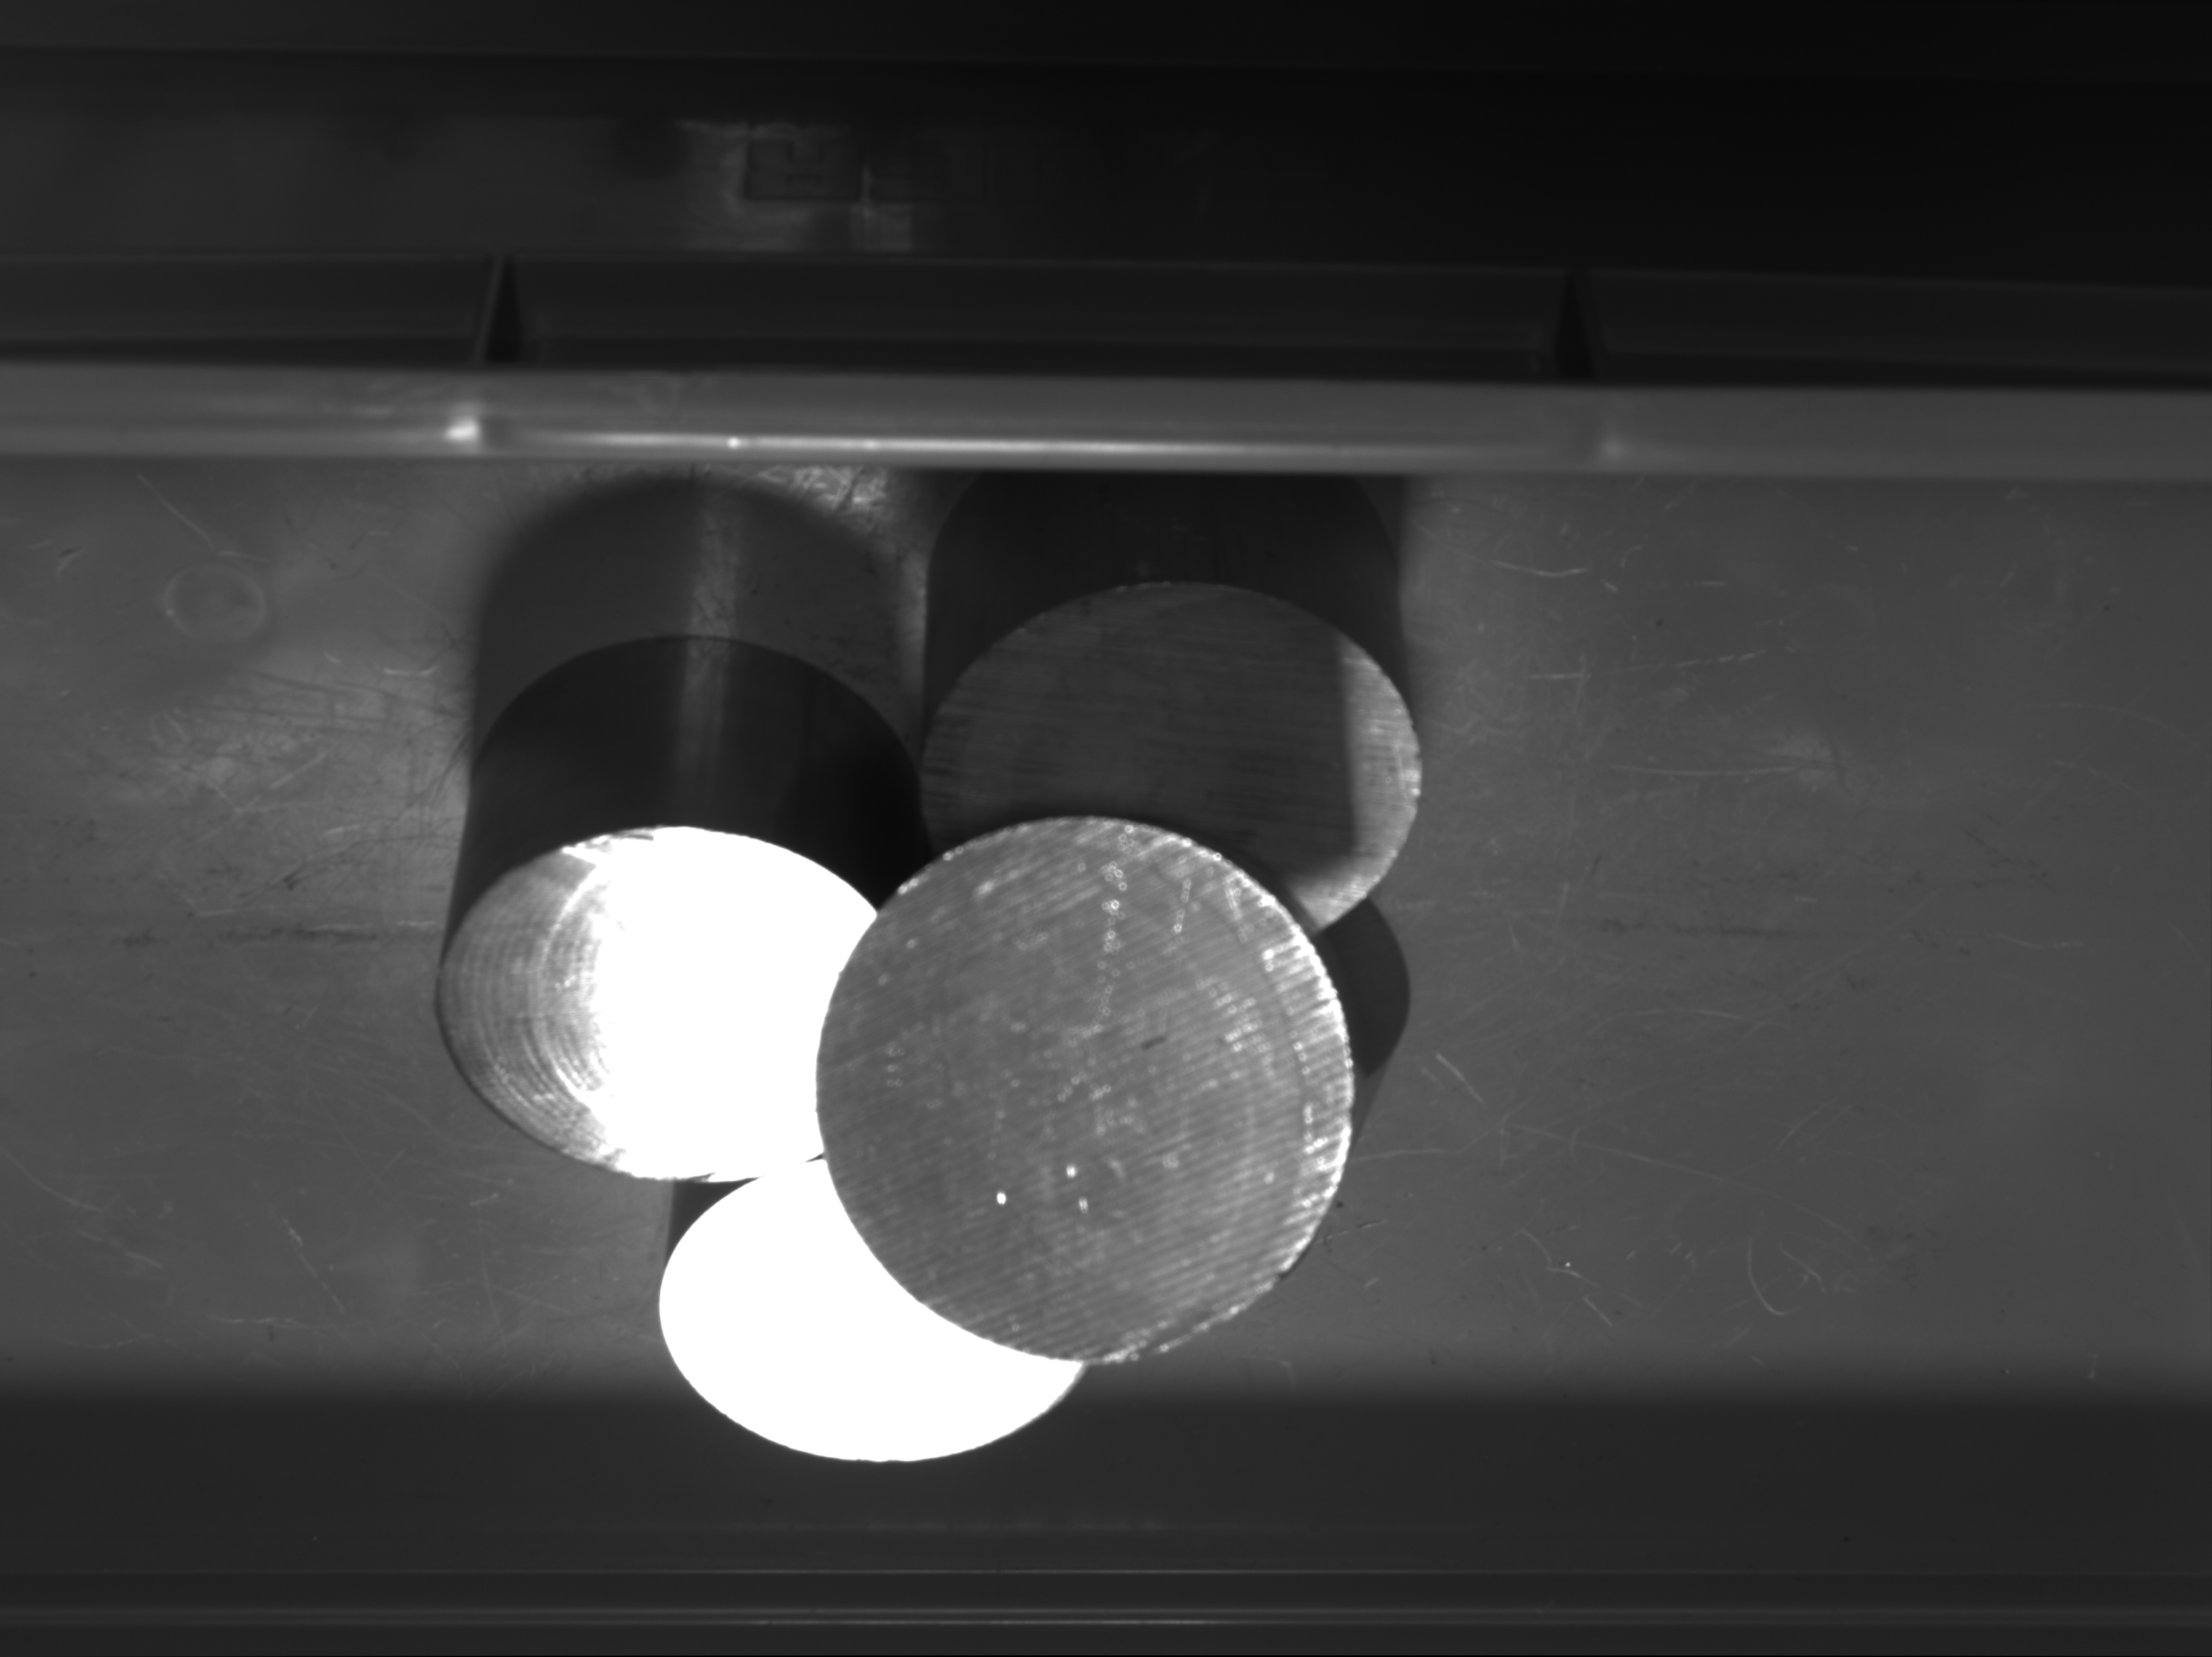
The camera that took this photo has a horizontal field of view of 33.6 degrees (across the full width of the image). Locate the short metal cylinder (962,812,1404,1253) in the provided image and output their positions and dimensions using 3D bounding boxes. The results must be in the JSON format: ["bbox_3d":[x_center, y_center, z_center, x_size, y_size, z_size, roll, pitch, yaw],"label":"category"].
[{"bbox_3d":[0.006,0.038,0.634,0.080,0.080,0.050,10,129,-10],"label":"short metal cylinder"}]

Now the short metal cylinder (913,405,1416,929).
[{"bbox_3d":[0.009,-0.022,0.602,0.080,0.050,0.080,-1,130,-1],"label":"short metal cylinder"}]

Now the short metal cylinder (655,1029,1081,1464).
[{"bbox_3d":[-0.042,0.072,0.679,0.080,0.050,0.080,-1,130,-1],"label":"short metal cylinder"}]

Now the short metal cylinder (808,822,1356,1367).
[{"bbox_3d":[-0.002,0.039,0.562,0.080,0.050,0.080,0,90,5],"label":"short metal cylinder"}]

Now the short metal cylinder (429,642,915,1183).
[{"bbox_3d":[-0.073,0.015,0.630,0.080,0.050,0.080,-1,130,-1],"label":"short metal cylinder"}]
